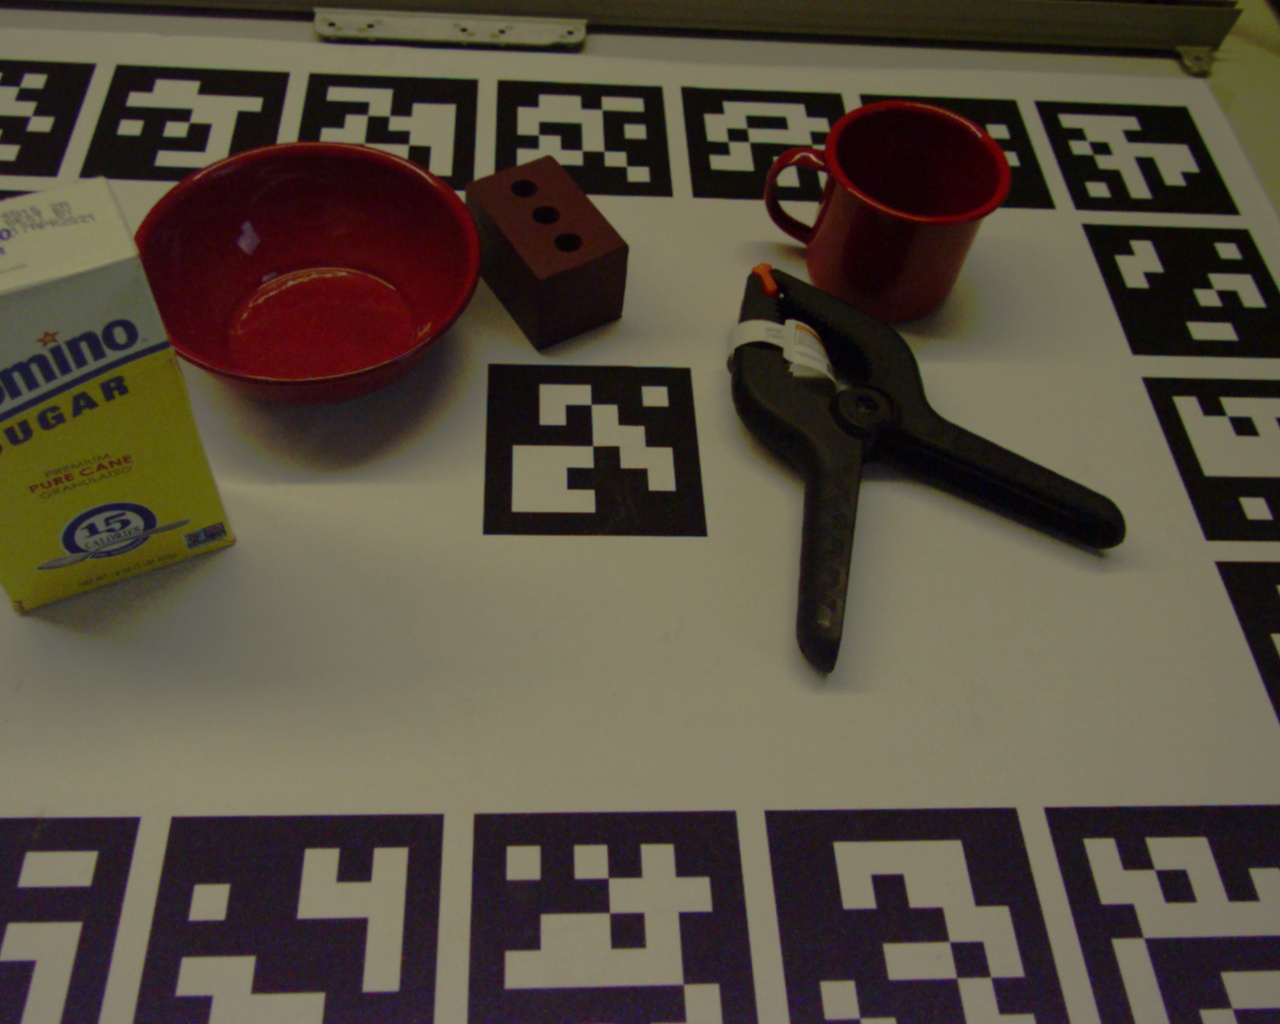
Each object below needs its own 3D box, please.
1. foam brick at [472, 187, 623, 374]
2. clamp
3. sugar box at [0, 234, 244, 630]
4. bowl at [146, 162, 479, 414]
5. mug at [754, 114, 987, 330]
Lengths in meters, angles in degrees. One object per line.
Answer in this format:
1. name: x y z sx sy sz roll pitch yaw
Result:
1. foam brick: -0.051 -0.124 0.615 0.052 0.051 0.079 -25 64 -19
2. clamp: 0.093 -0.041 0.570 0.164 0.036 0.204 -22 63 -16
3. sugar box: -0.221 -0.023 0.454 0.092 0.176 0.046 -22 65 -21
4. bowl: -0.164 -0.104 0.583 0.161 0.055 0.162 3 57 -5
5. mug: 0.118 -0.160 0.626 0.117 0.081 0.093 23 58 5
